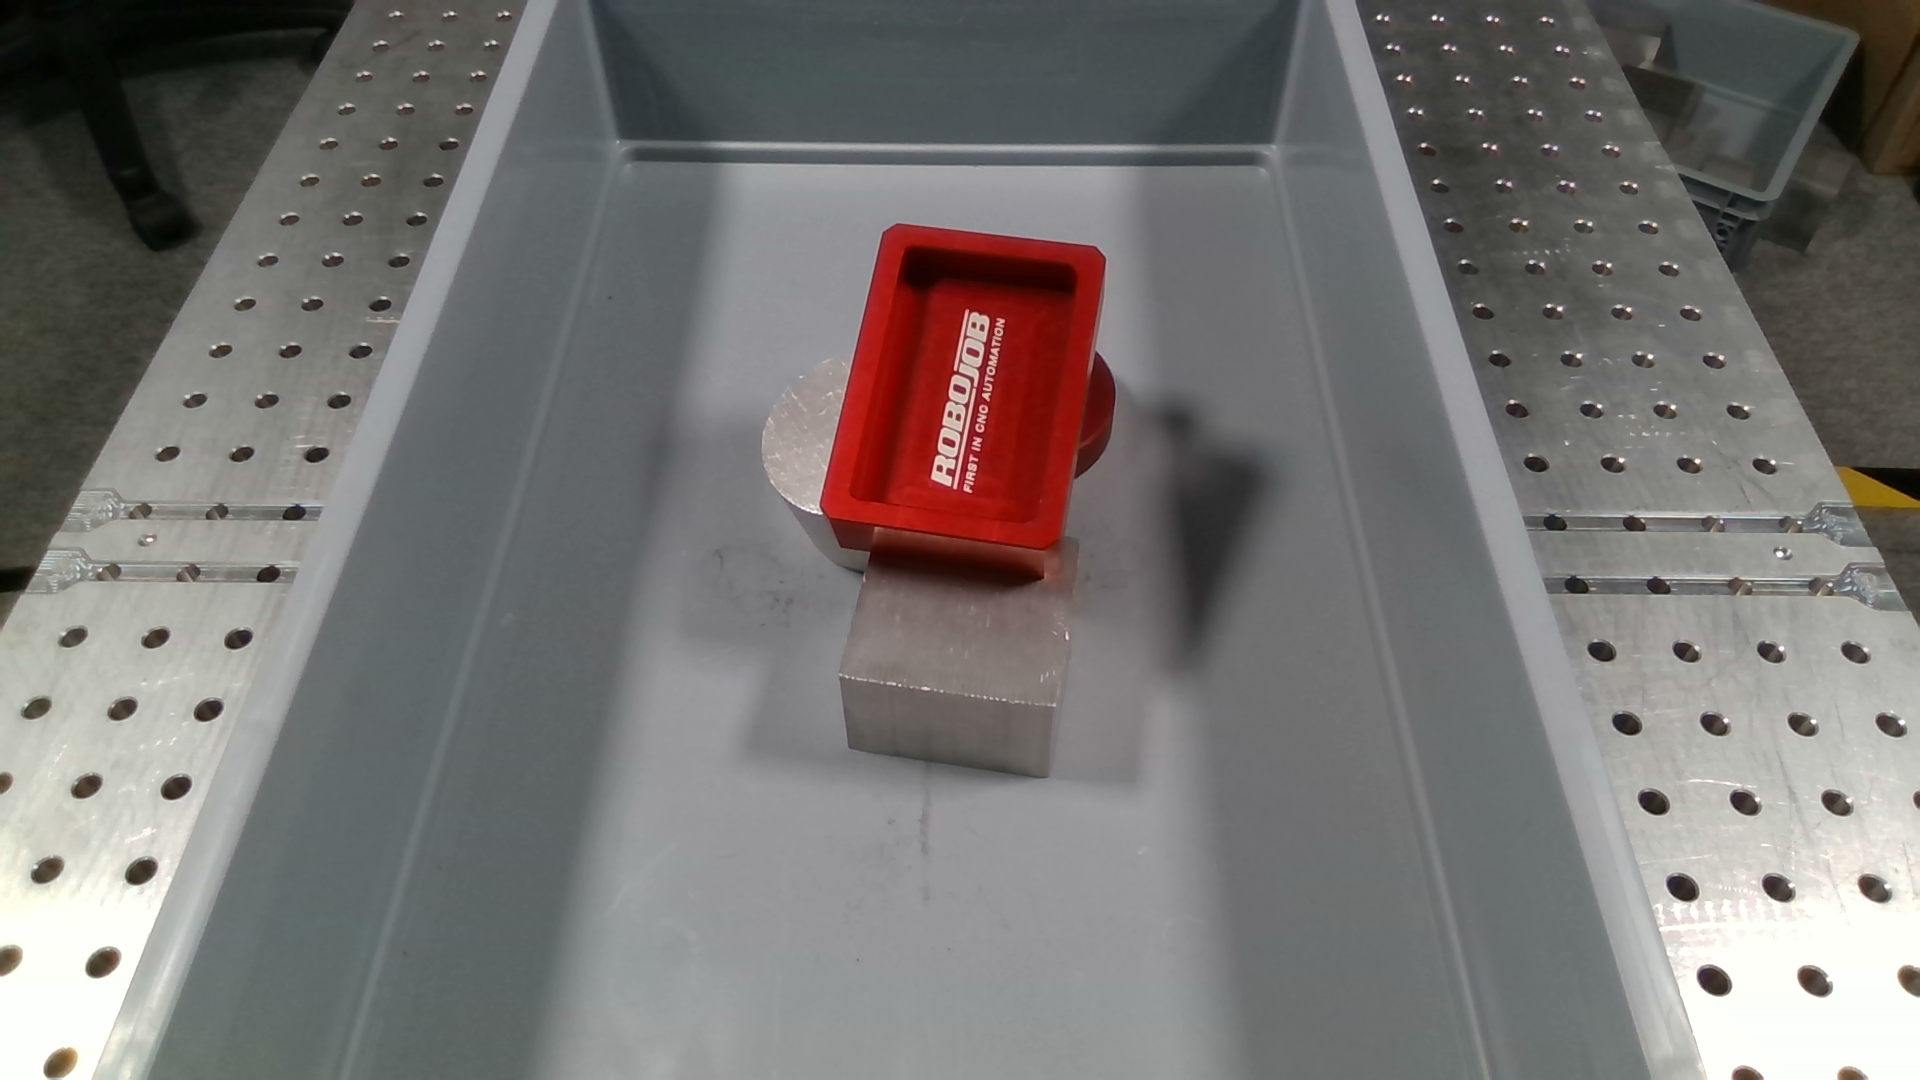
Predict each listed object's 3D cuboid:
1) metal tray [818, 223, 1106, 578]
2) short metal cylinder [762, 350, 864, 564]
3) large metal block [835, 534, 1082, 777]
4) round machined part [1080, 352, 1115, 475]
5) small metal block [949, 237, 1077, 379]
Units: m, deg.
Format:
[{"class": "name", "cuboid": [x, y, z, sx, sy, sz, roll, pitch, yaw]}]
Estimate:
[{"class": "metal tray", "cuboid": [0.003, -0.056, 0.537, 0.090, 0.030, 0.130, 8, 70, 7]}, {"class": "short metal cylinder", "cuboid": [-0.037, -0.034, 0.583, 0.080, 0.050, 0.080, -6, 61, 11]}, {"class": "large metal block", "cuboid": [0.001, 0.039, 0.535, 0.080, 0.050, 0.080, 7, 51, 6]}, {"class": "round machined part", "cuboid": [0.022, -0.071, 0.633, 0.098, 0.042, 0.098, 0, 50, 0]}, {"class": "small metal block", "cuboid": [0.022, -0.101, 0.598, 0.050, 0.050, 0.025, 9, 51, 8]}]
